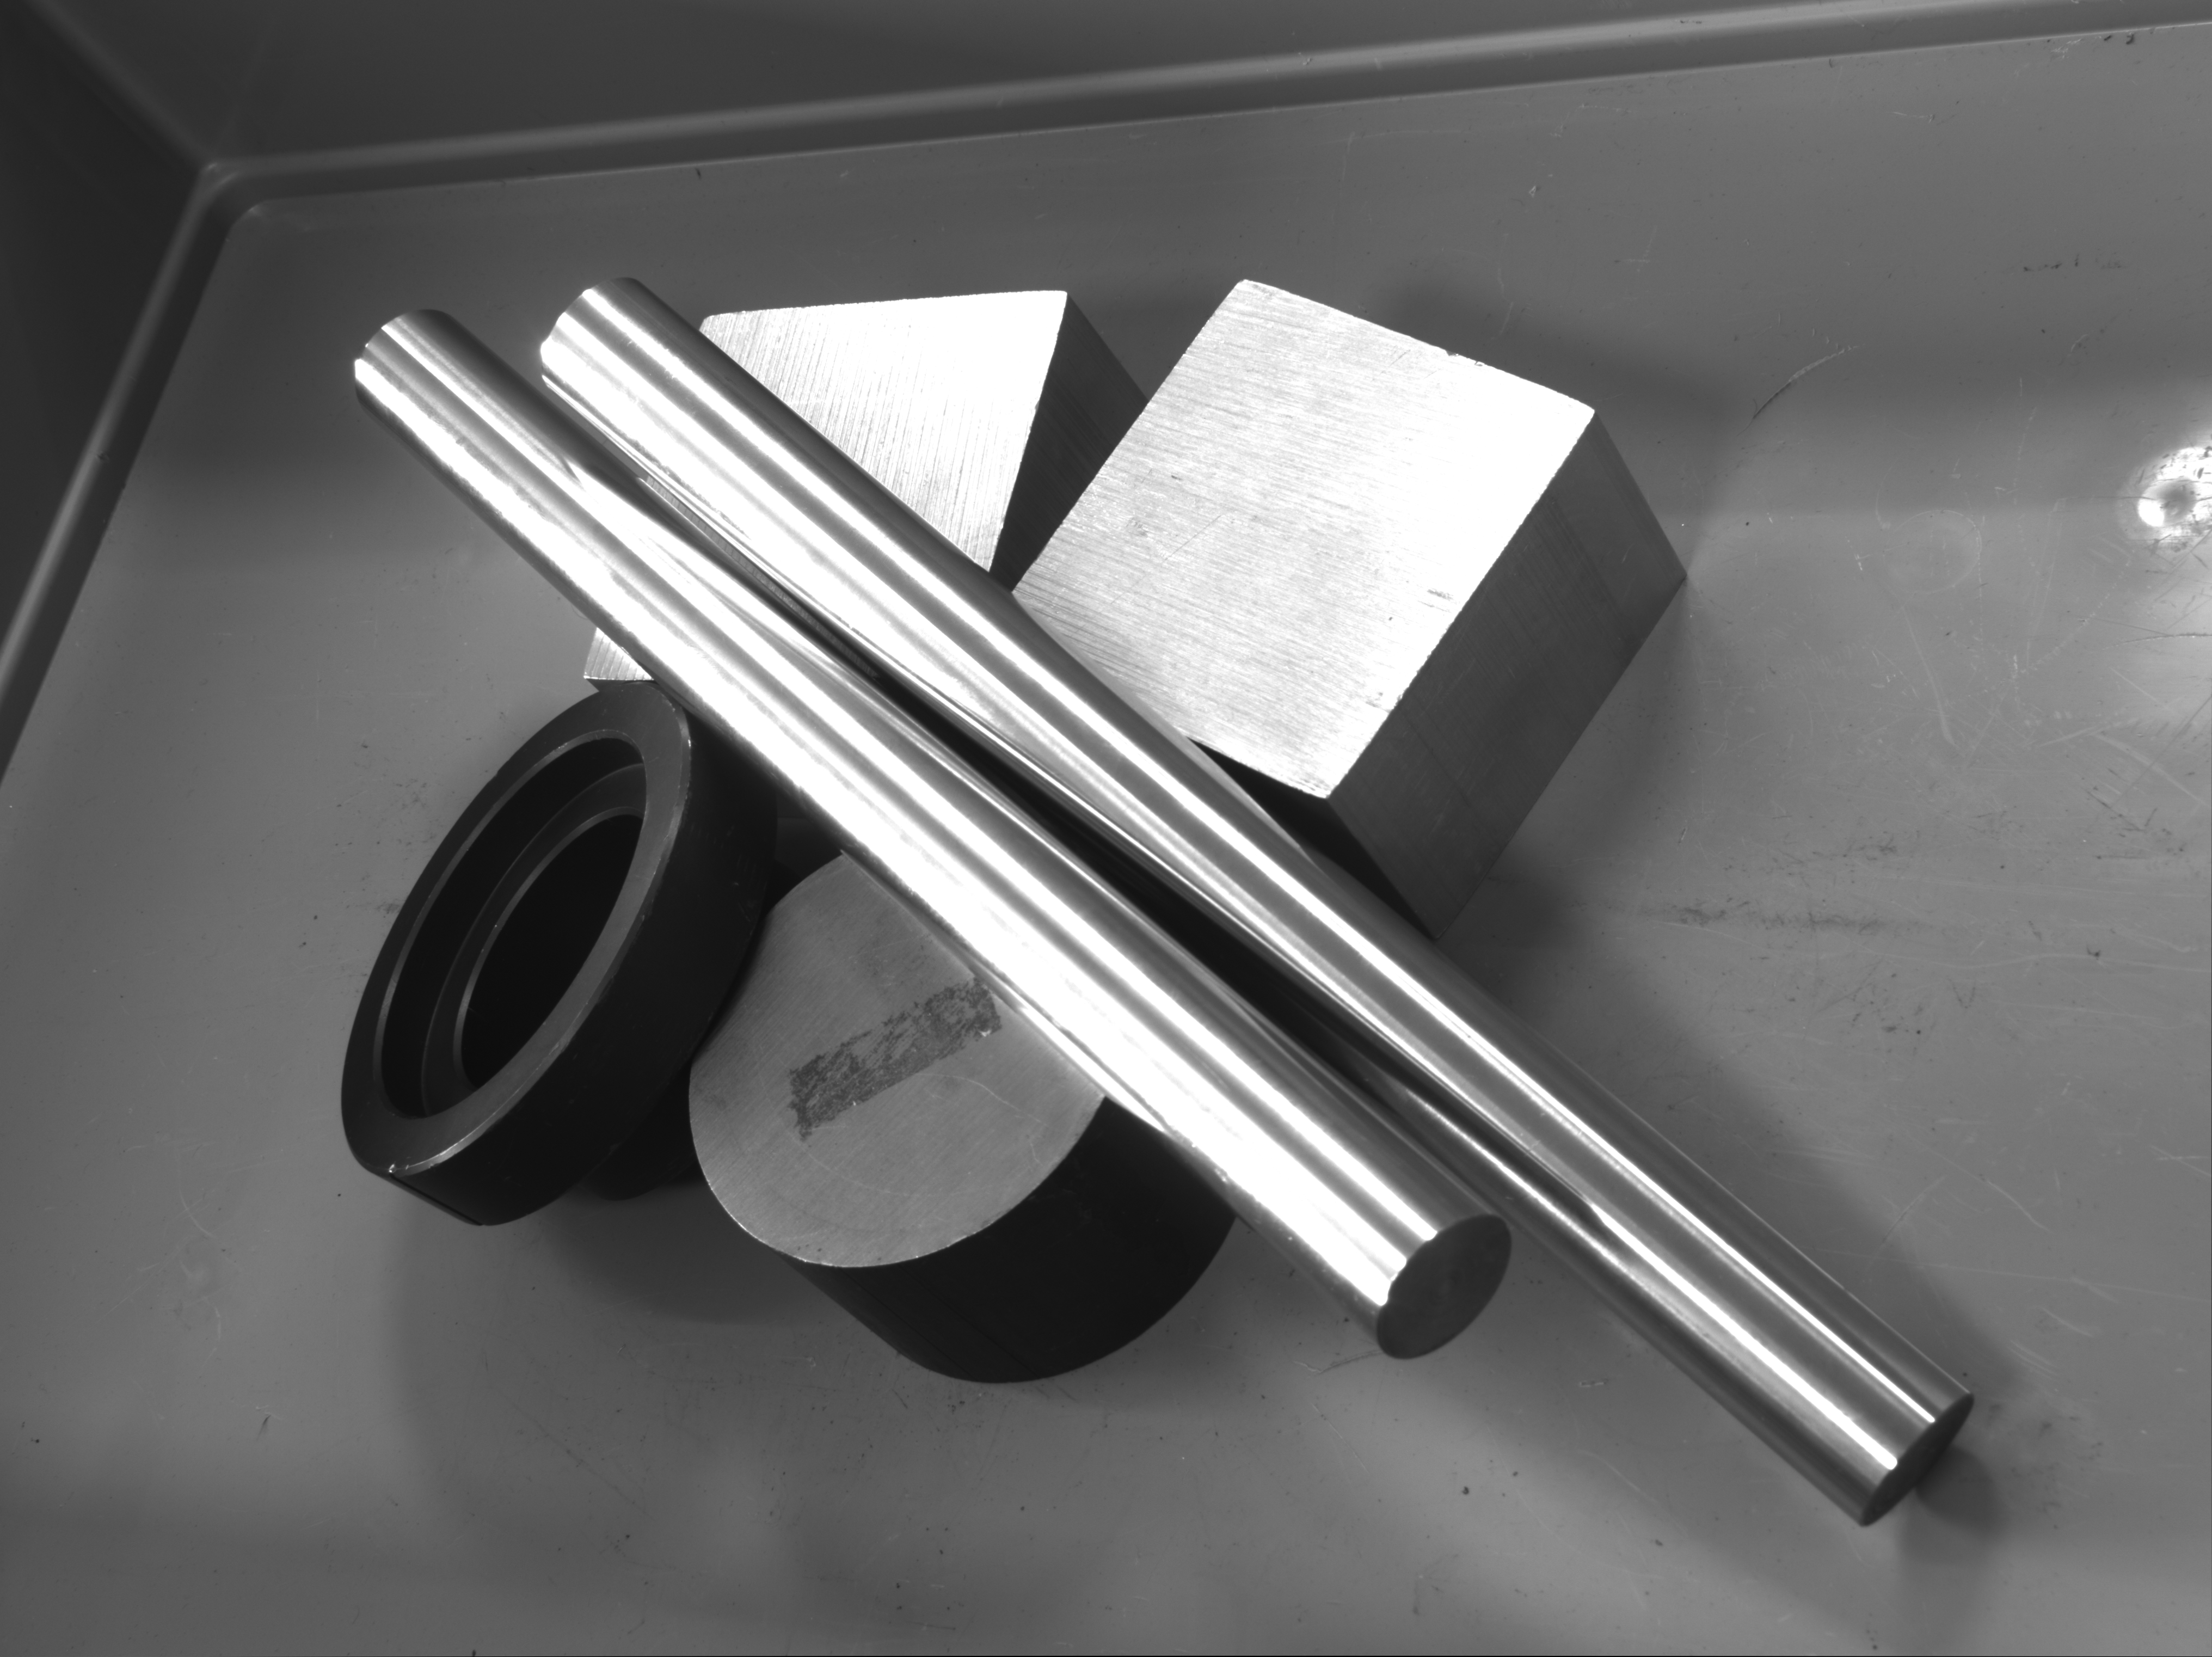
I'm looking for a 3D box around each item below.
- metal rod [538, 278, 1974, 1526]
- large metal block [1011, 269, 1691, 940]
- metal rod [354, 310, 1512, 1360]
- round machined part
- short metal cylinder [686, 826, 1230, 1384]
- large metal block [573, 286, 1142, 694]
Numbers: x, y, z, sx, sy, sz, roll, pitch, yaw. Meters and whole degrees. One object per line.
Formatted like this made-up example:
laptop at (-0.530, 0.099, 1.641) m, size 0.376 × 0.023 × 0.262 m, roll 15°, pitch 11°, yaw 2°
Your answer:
metal rod at (0.013, 0.002, 0.588) m, size 0.299 × 0.025 × 0.025 m, roll 41°, pitch 85°, yaw 25°
large metal block at (0.039, -0.039, 0.630) m, size 0.080 × 0.050 × 0.080 m, roll 27°, pitch 77°, yaw 37°
metal rod at (-0.042, -0.012, 0.608) m, size 0.025 × 0.025 × 0.299 m, roll -47°, pitch 52°, yaw -4°
round machined part at (-0.089, 0.027, 0.650) m, size 0.098 × 0.042 × 0.098 m, roll -36°, pitch 35°, yaw 31°
short metal cylinder at (-0.022, 0.046, 0.611) m, size 0.080 × 0.050 × 0.080 m, roll -14°, pitch 56°, yaw 21°
large metal block at (-0.041, -0.050, 0.677) m, size 0.080 × 0.050 × 0.080 m, roll 1°, pitch 62°, yaw 29°
